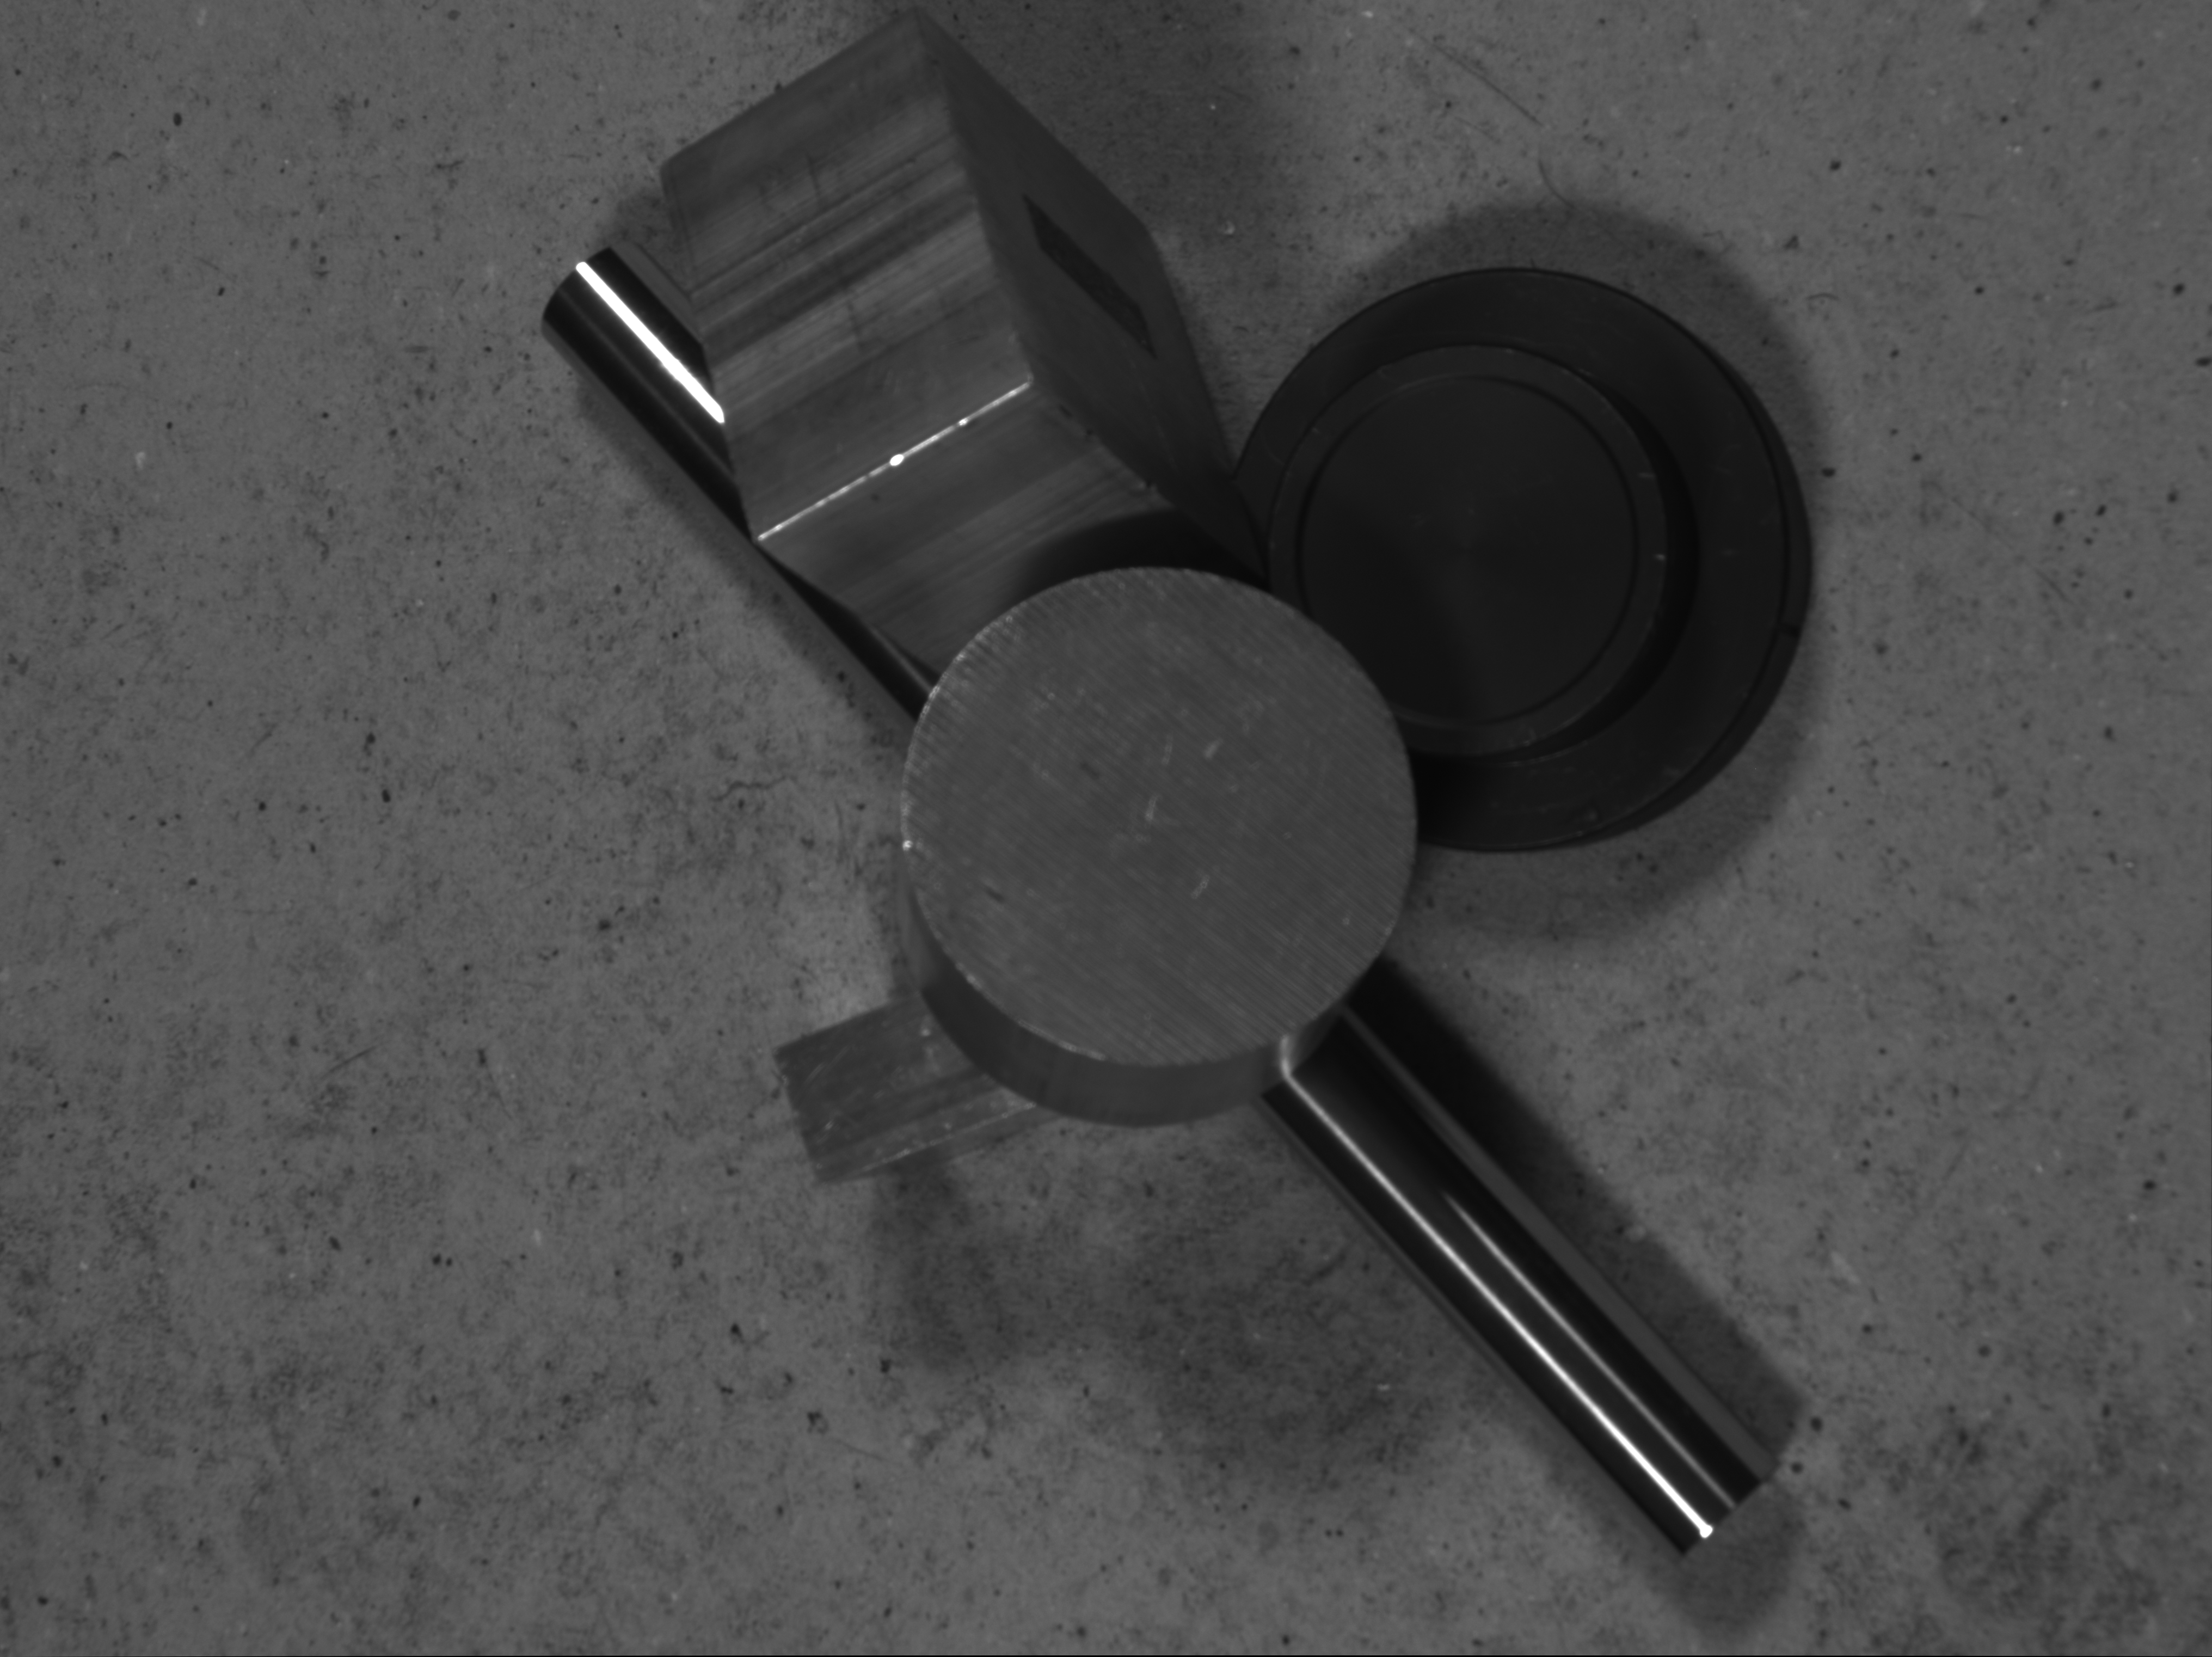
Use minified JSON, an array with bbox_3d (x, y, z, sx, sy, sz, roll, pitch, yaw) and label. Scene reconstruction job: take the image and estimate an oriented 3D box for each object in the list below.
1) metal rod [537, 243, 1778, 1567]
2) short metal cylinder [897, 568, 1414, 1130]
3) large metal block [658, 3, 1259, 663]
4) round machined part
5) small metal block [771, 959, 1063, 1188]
[{"bbox_3d":[0.003,0.007,0.644,0.025,0.025,0.300,-46,76,14],"label":"metal rod"},{"bbox_3d":[0.006,0.004,0.589,0.080,0.050,0.080,1,74,-3],"label":"short metal cylinder"},{"bbox_3d":[-0.024,-0.076,0.613,0.050,0.080,0.080,-28,59,19],"label":"large metal block"},{"bbox_3d":[0.065,-0.045,0.612,0.098,0.042,0.098,0,90,20],"label":"round machined part"},{"bbox_3d":[-0.023,0.041,0.640,0.050,0.050,0.025,-23,82,18],"label":"small metal block"}]
